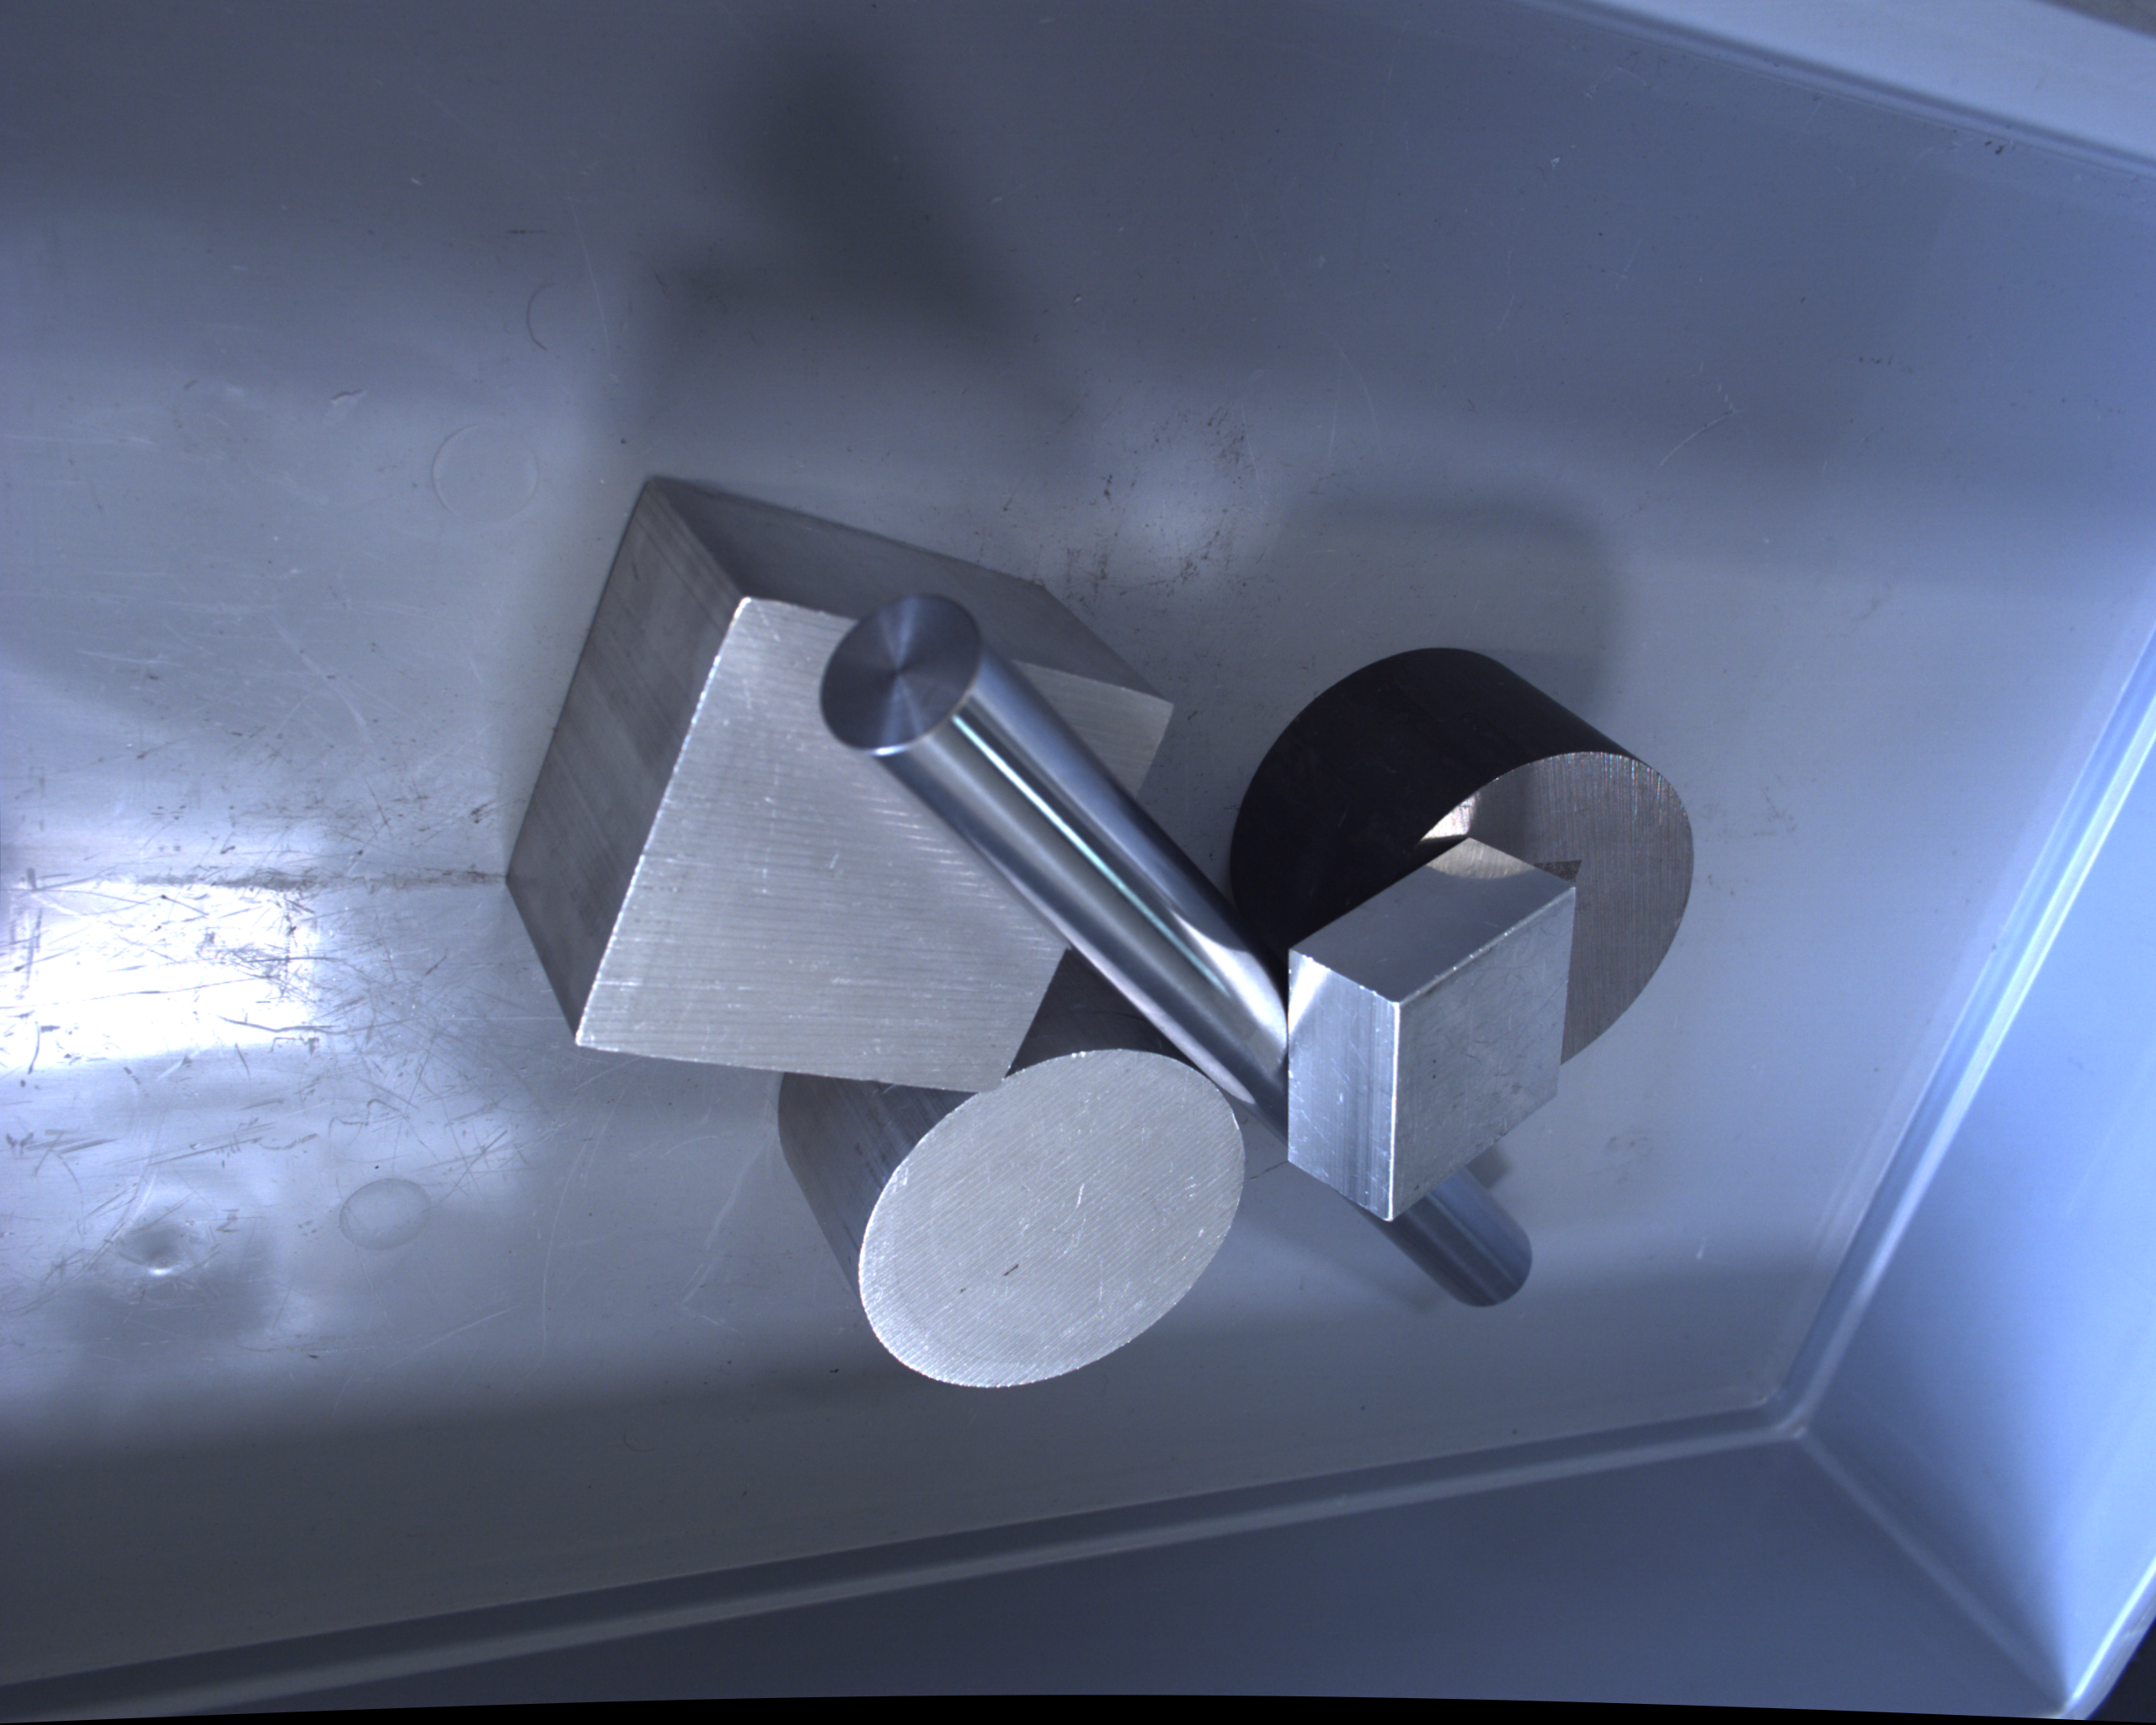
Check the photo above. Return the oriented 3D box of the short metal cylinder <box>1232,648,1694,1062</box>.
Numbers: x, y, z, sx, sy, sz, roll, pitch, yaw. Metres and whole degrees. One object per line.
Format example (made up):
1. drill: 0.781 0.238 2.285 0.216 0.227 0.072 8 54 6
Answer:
1. short metal cylinder: 0.080 0.002 0.435 0.081 0.050 0.079 -14 124 -21

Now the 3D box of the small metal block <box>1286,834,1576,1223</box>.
1. small metal block: 0.065 0.030 0.387 0.050 0.025 0.050 -29 130 -33

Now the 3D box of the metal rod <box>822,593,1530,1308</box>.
1. metal rod: 0.039 0.037 0.405 0.025 0.025 0.300 -43 144 1

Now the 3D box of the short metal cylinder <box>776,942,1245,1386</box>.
1. short metal cylinder: -0.014 0.057 0.418 0.081 0.050 0.079 -14 124 -21

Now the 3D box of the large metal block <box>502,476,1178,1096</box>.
1. large metal block: -0.042 -0.011 0.358 0.081 0.050 0.079 11 113 -33
